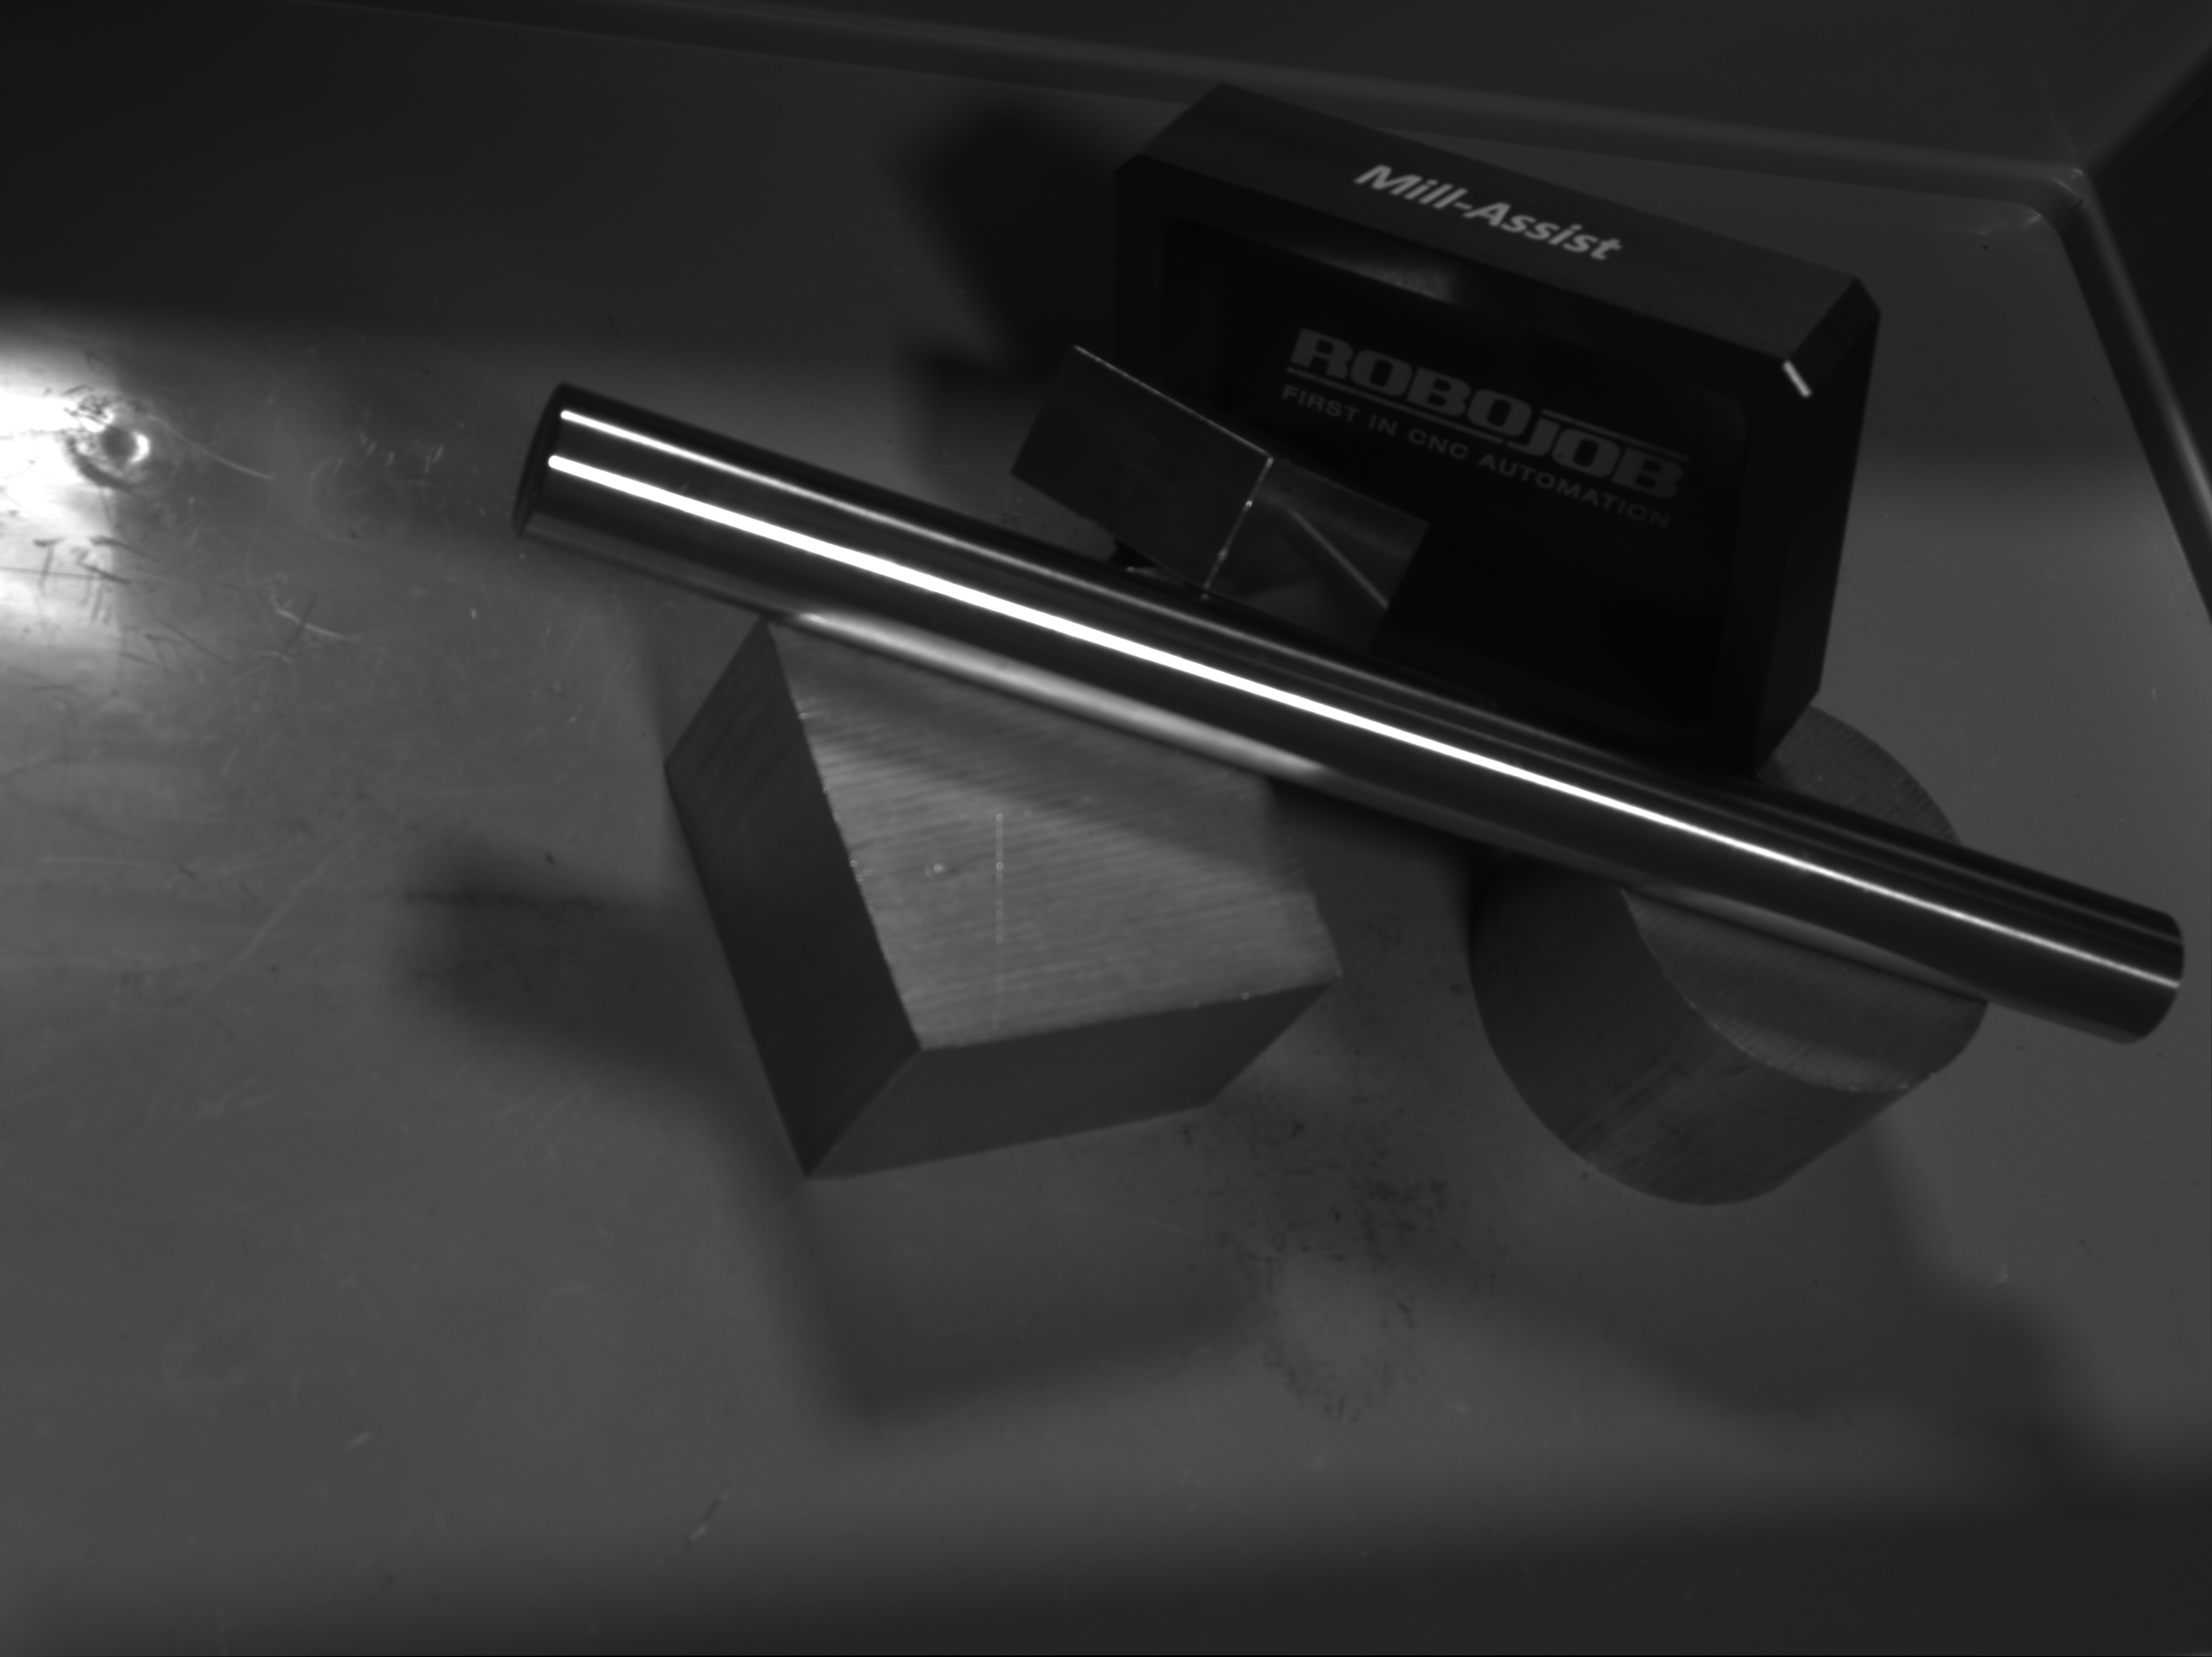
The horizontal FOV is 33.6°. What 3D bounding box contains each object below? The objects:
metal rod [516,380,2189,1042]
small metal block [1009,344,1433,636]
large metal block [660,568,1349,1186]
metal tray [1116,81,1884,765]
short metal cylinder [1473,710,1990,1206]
[{"bbox_3d":[0.050,-0.015,0.609,0.301,0.025,0.025,17,55,-19],"label":"metal rod"},{"bbox_3d":[0.020,-0.058,0.642,0.050,0.025,0.050,34,11,37],"label":"small metal block"},{"bbox_3d":[-0.018,0.007,0.609,0.080,0.050,0.080,-8,66,-32],"label":"large metal block"},{"bbox_3d":[0.065,-0.069,0.642,0.130,0.090,0.030,22,46,23],"label":"metal tray"},{"bbox_3d":[0.114,0.022,0.670,0.080,0.050,0.080,14,56,-21],"label":"short metal cylinder"}]
